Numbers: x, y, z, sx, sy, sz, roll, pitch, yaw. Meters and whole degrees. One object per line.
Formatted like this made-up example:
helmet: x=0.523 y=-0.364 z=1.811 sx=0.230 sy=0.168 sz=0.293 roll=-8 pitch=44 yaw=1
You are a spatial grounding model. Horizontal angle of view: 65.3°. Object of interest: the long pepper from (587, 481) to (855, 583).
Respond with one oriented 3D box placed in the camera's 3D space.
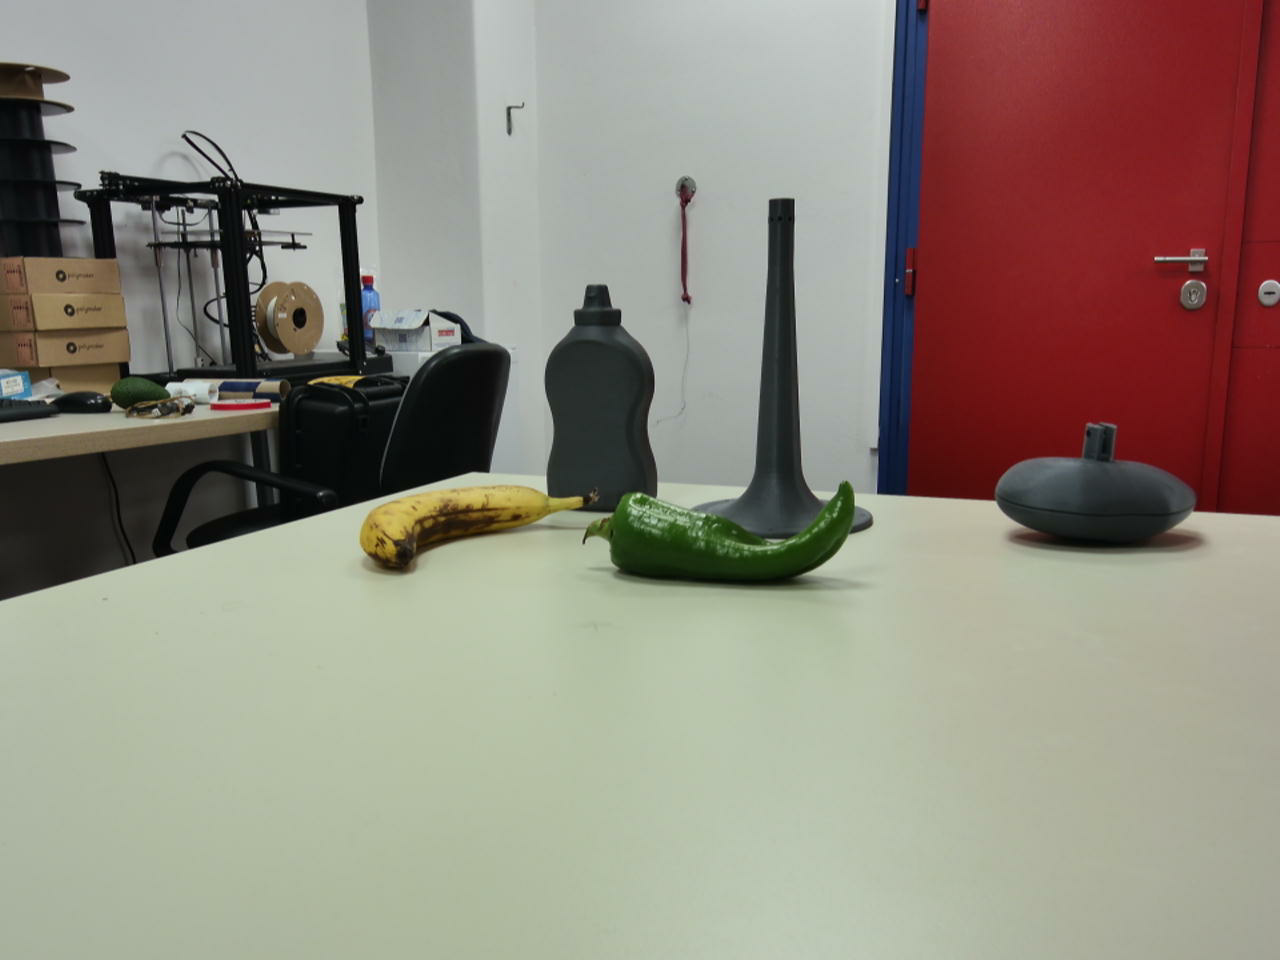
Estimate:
long pepper: x=0.046 y=0.030 z=0.638 sx=0.175 sy=0.065 sz=0.058 roll=3 pitch=8 yaw=22
